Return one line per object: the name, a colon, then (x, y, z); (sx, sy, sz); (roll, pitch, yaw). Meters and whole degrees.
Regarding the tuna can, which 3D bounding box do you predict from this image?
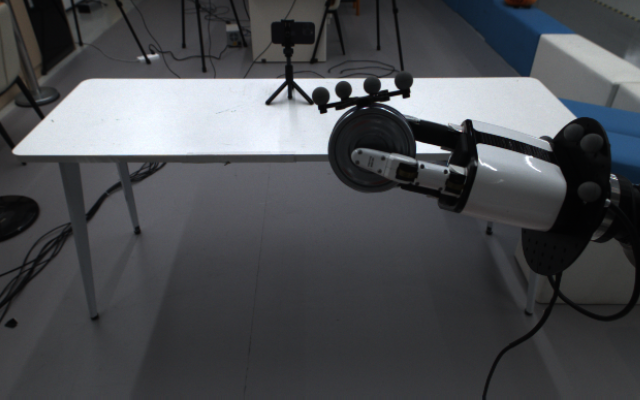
tuna can: (0.053, -0.053, 0.478); (0.085, 0.085, 0.034); (6, 18, 5)
